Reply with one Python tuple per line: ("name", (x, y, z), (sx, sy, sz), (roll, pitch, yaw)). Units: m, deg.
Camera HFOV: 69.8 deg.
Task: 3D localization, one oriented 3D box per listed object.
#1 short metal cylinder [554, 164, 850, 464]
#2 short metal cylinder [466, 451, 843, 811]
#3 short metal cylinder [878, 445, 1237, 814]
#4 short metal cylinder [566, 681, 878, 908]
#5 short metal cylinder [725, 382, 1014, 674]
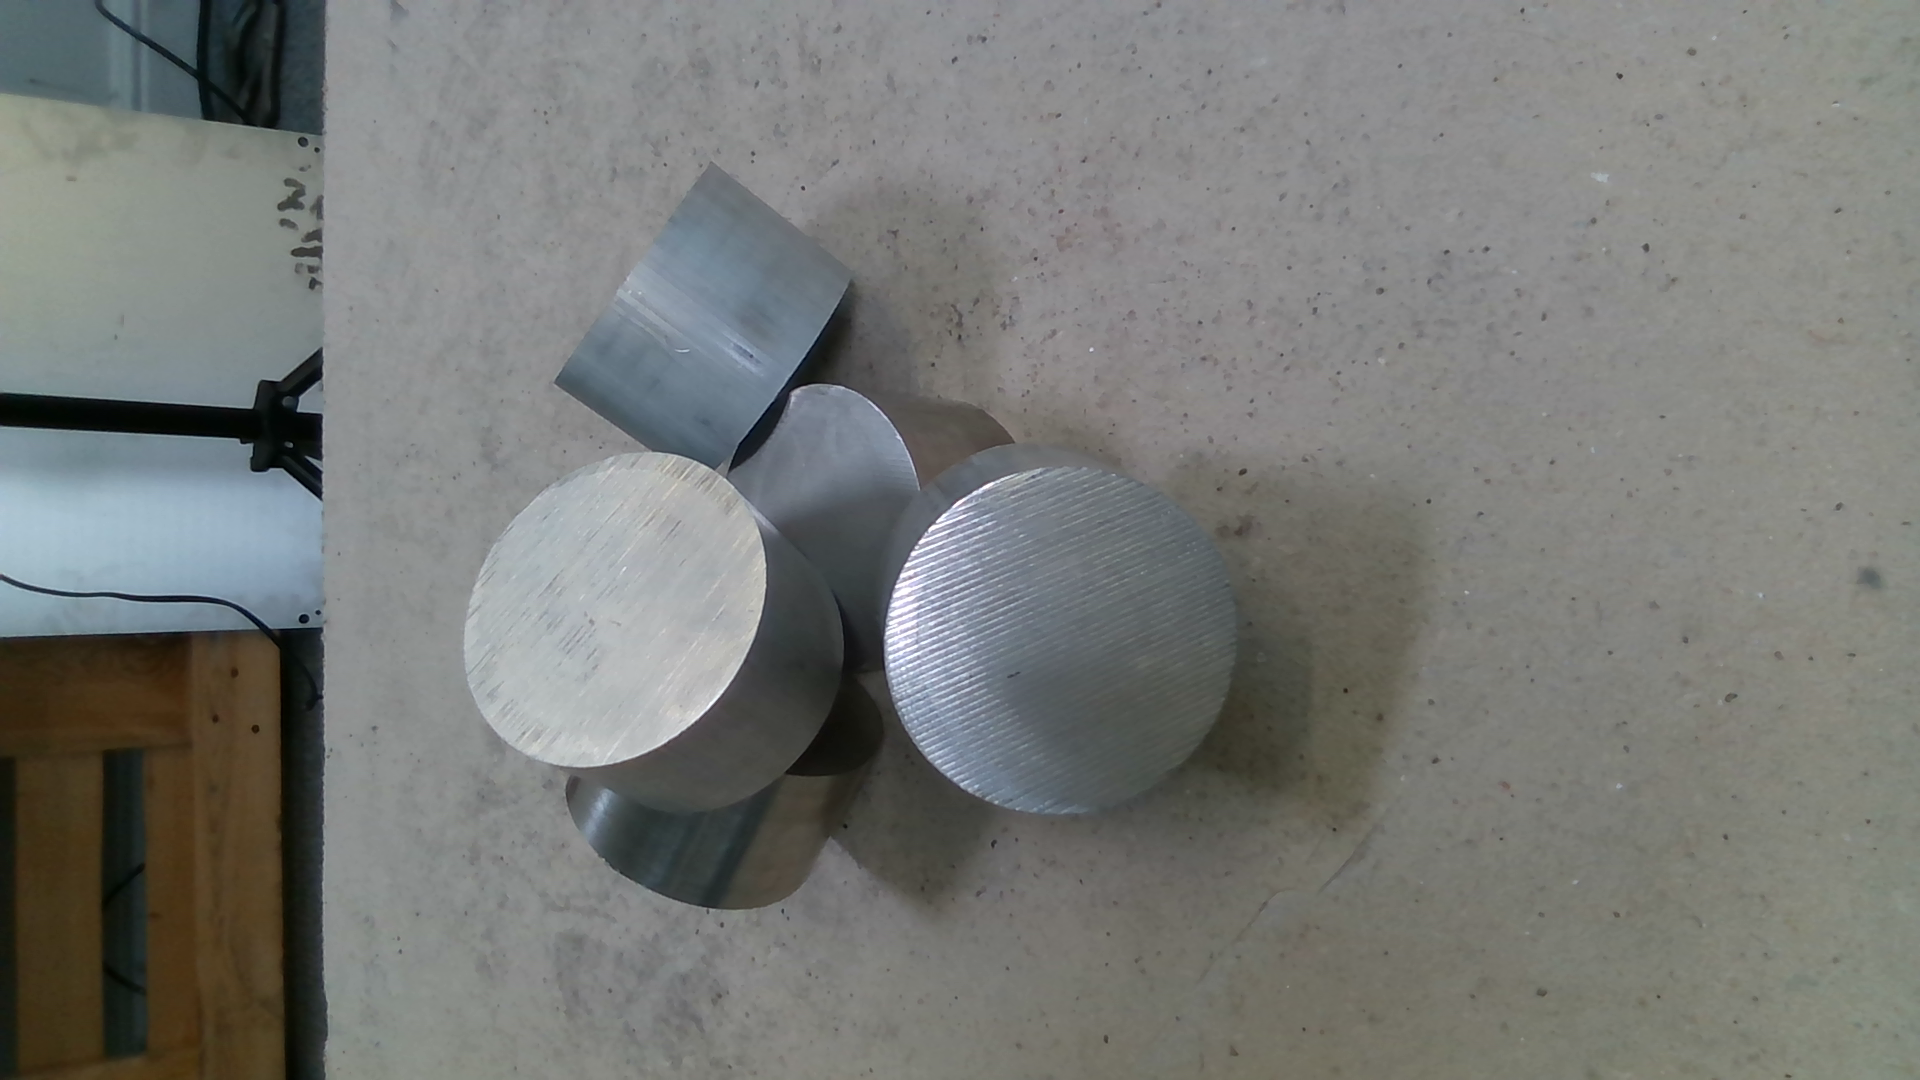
("short metal cylinder", (-0.077, -0.065, 0.412), (0.080, 0.050, 0.080), (-48, 17, 20))
("short metal cylinder", (-0.076, 0.024, 0.352), (0.080, 0.050, 0.080), (-7, 66, 16))
("short metal cylinder", (0.020, 0.019, 0.330), (0.050, 0.080, 0.080), (-119, 39, -78))
("short metal cylinder", (-0.072, 0.064, 0.416), (0.080, 0.080, 0.050), (42, 116, 32))
("short metal cylinder", (-0.024, -0.003, 0.395), (0.080, 0.050, 0.080), (1, 91, 40))
